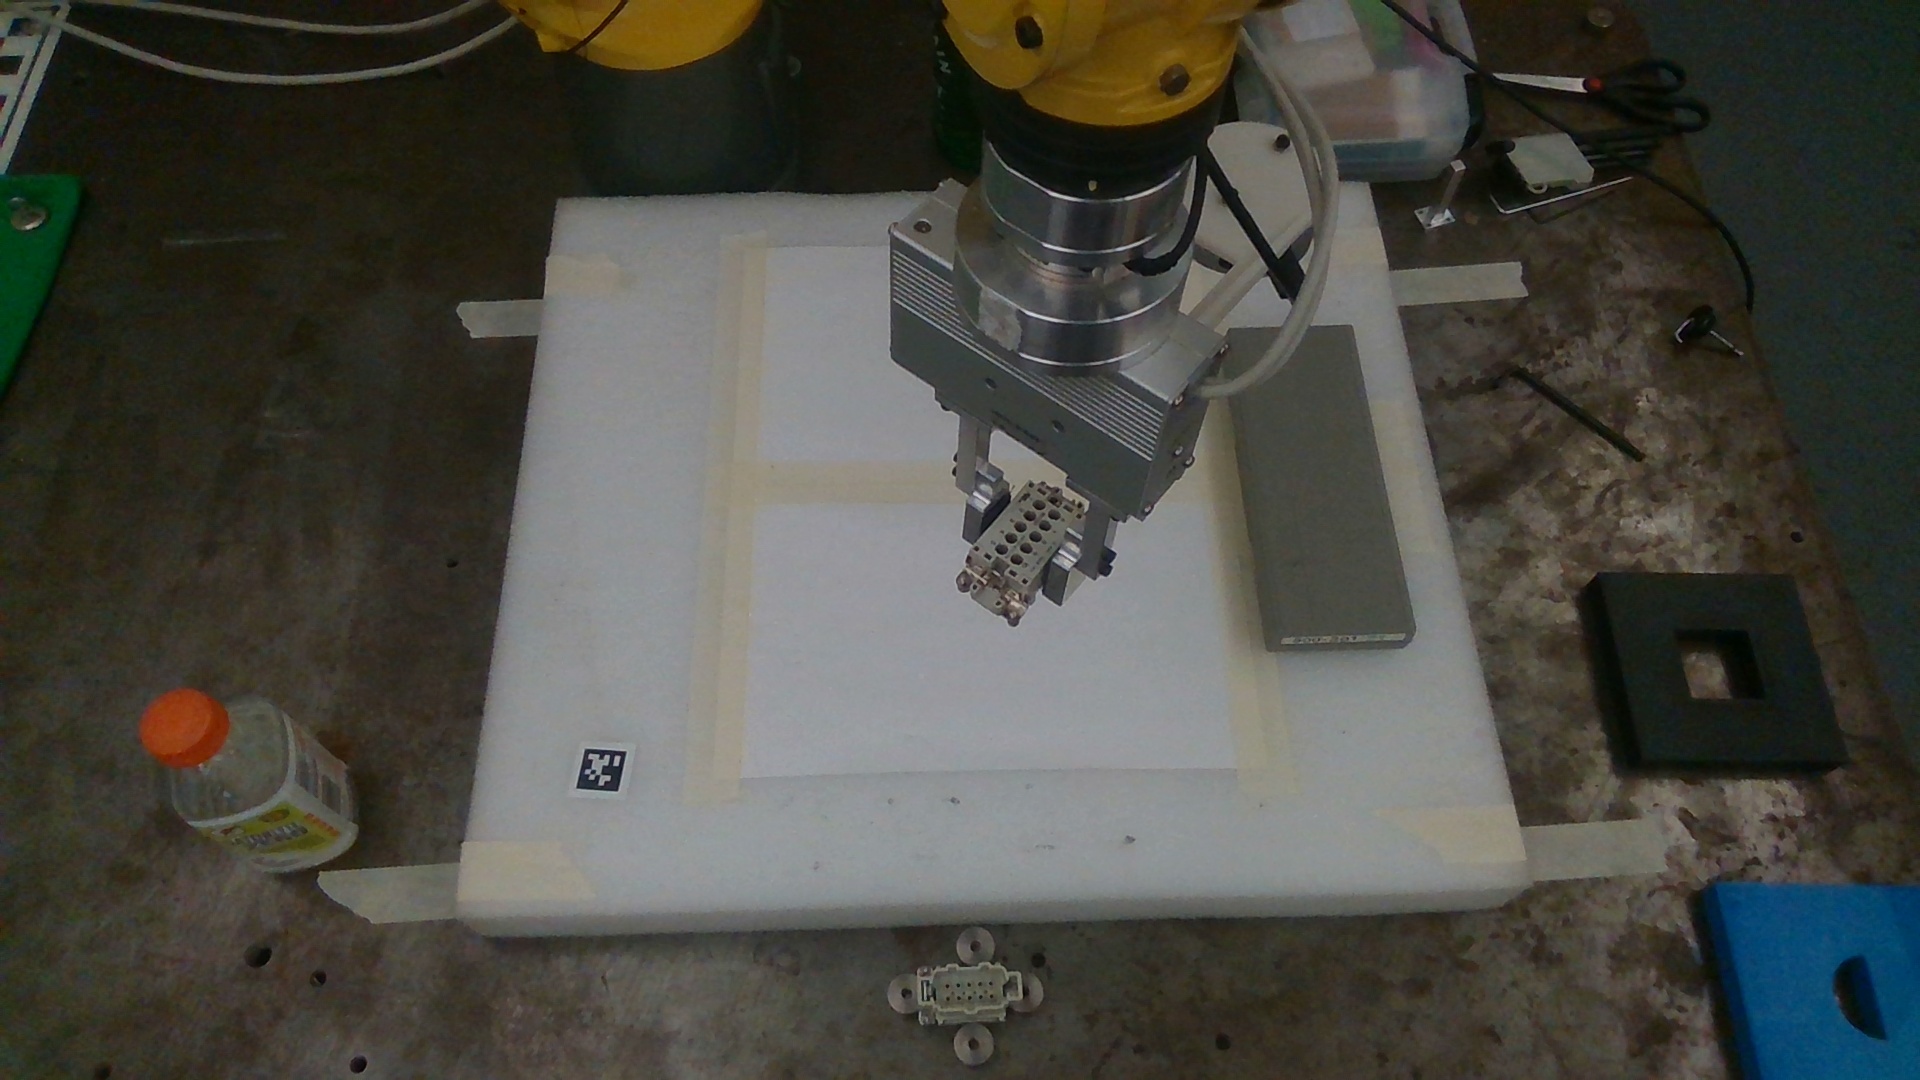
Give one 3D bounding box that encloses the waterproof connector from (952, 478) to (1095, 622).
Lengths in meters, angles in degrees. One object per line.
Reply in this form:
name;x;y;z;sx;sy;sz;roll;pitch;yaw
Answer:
waterproof connector;0.030;0.005;0.640;0.037;0.038;0.069;37;74;16
